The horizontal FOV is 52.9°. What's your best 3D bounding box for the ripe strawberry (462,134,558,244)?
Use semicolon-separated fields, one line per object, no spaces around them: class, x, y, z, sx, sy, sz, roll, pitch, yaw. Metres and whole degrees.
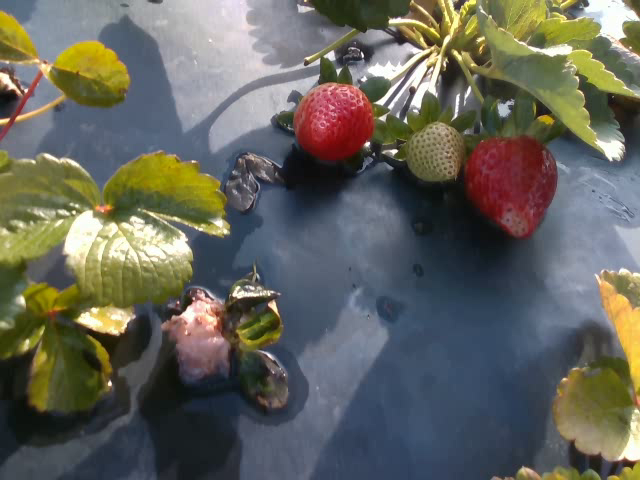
ripe strawberry;0.093;-0.025;0.308;0.048;0.065;0.050;-14;-36;31
